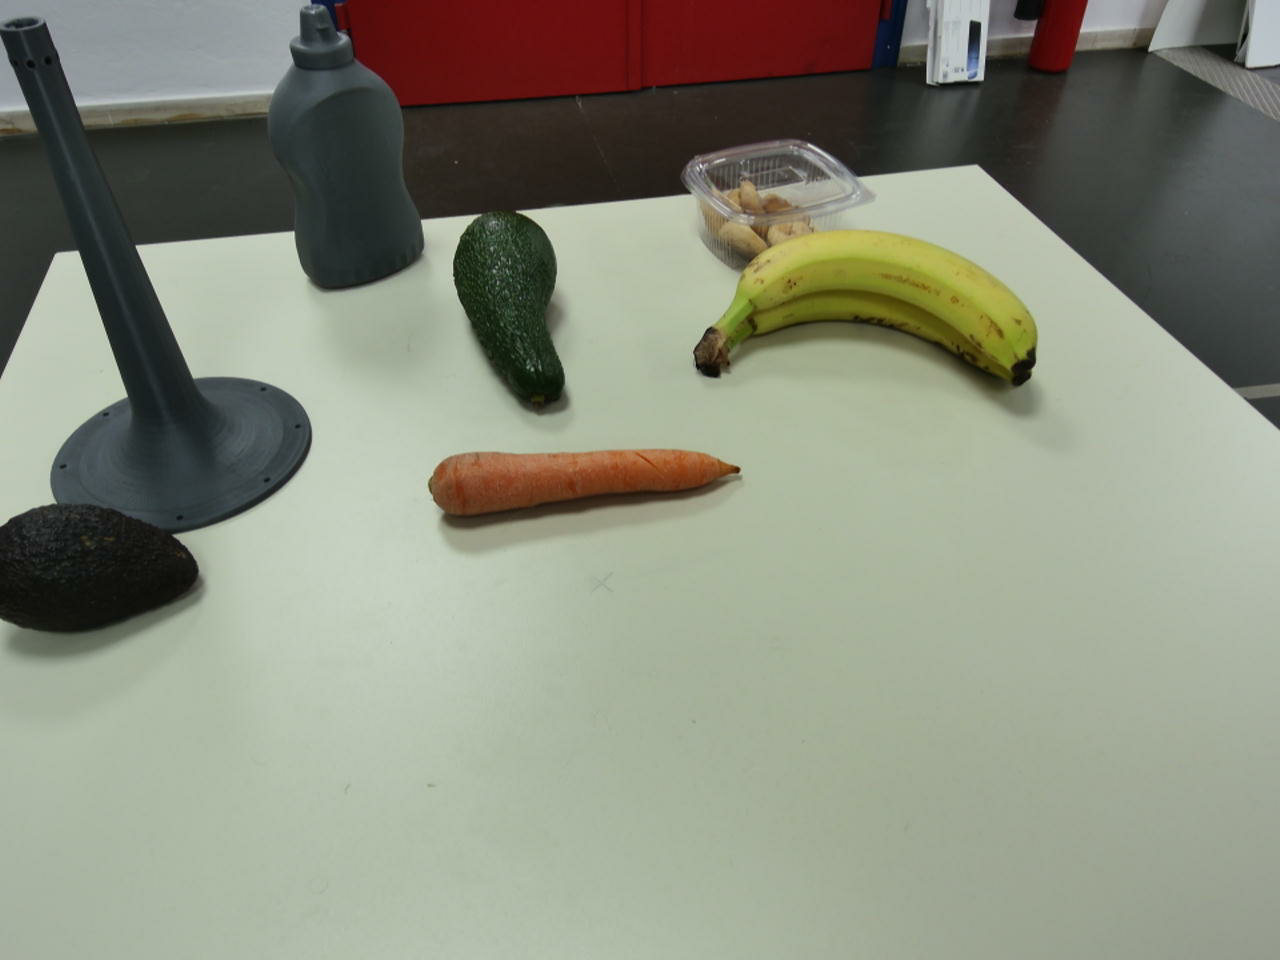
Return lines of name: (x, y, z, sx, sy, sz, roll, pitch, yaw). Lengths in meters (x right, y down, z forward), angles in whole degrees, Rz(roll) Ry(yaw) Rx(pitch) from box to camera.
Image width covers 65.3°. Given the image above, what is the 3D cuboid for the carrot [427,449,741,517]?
carrot: (-0.030, -0.007, 0.621, 0.196, 0.041, 0.039, -7, 40, -9)
